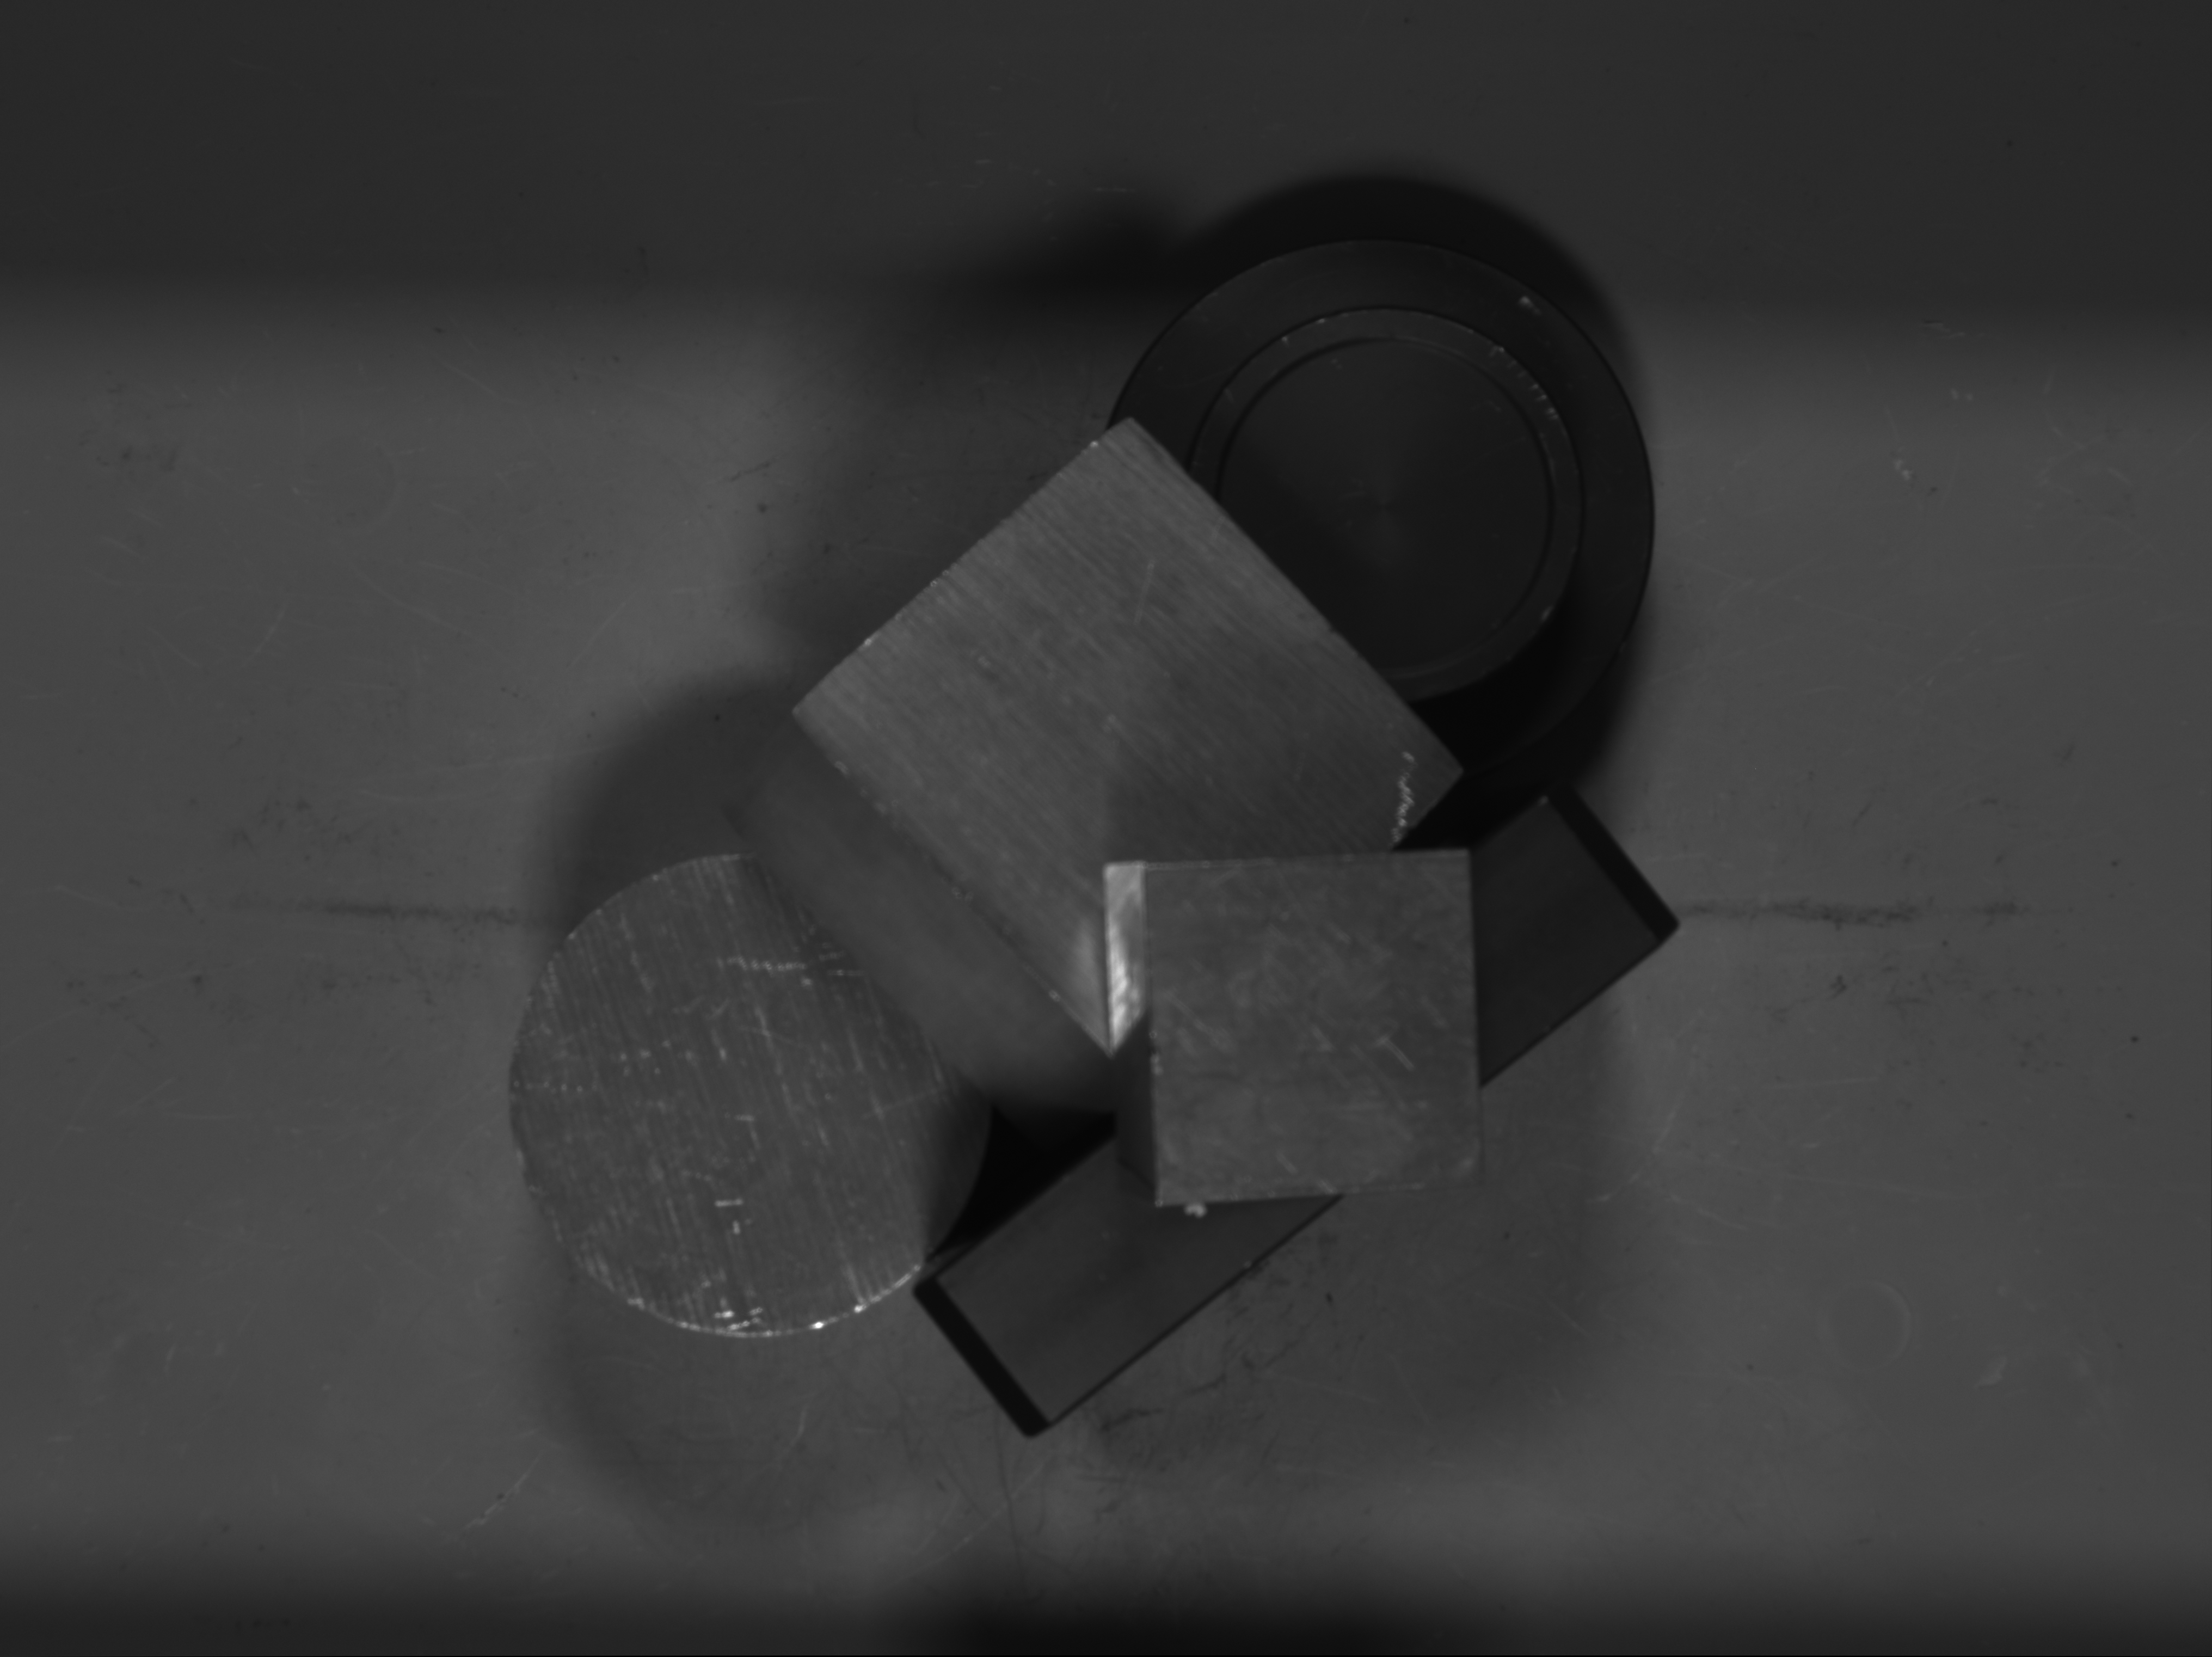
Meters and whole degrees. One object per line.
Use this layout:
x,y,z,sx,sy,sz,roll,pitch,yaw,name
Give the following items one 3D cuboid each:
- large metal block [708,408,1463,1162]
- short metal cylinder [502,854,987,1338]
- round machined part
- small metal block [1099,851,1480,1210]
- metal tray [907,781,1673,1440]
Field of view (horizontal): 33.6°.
-0.004,-0.007,0.596,0.080,0.050,0.080,46,65,0,large metal block
-0.060,0.044,0.631,0.080,0.050,0.080,0,90,0,short metal cylinder
0.045,-0.054,0.636,0.098,0.042,0.098,0,90,0,round machined part
0.027,0.030,0.549,0.050,0.025,0.050,-2,89,-13,small metal block
0.029,0.045,0.611,0.130,0.090,0.030,-38,89,-1,metal tray
